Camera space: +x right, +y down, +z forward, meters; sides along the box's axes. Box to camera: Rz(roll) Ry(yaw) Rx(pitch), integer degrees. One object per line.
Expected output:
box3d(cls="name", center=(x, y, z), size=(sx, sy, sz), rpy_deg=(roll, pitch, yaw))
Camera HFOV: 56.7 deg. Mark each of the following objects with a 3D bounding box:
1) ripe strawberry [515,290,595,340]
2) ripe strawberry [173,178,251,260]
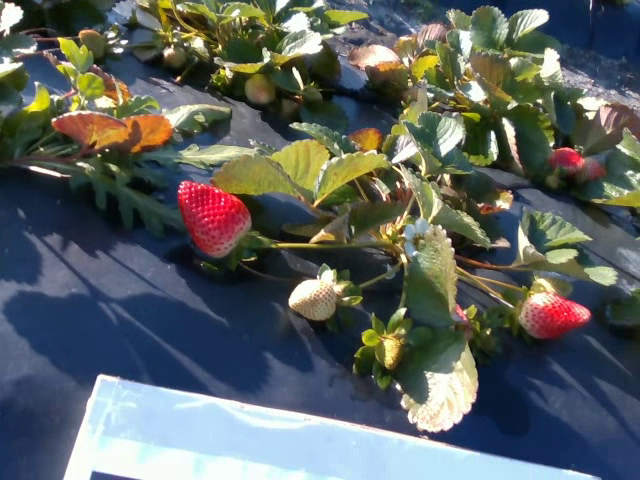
box3d(cls="ripe strawberry", center=(0.139, 0.045, 0.342), size=(0.042, 0.037, 0.045), rpy_deg=(4, -14, -42))
box3d(cls="ripe strawberry", center=(-0.060, -0.015, 0.318), size=(0.053, 0.044, 0.036), rpy_deg=(43, -17, -10))
